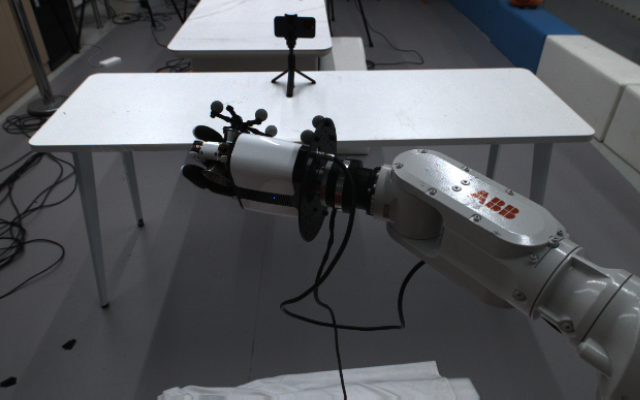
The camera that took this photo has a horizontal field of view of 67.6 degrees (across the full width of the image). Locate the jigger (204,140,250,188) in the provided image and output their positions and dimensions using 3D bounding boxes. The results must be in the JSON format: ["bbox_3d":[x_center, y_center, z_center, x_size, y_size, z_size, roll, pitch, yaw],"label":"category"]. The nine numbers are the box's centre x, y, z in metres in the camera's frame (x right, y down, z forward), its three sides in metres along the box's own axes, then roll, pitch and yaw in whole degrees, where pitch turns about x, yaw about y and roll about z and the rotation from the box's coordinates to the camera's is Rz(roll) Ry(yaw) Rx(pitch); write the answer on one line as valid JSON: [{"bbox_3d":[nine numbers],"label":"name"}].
[{"bbox_3d":[-0.122,-0.057,0.652,0.043,0.043,0.071,13,70,16],"label":"jigger"}]
